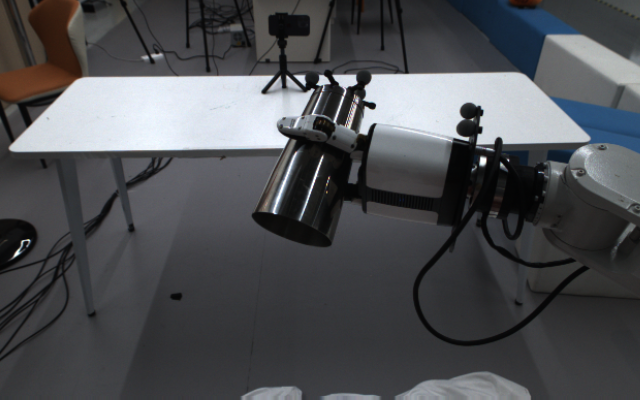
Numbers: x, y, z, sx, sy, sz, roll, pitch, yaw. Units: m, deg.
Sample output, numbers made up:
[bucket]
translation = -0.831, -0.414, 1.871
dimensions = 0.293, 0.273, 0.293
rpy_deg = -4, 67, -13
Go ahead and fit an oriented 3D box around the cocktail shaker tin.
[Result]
[cocktail shaker tin]
translation = -0.003, -0.043, 0.550
dimensions = 0.093, 0.093, 0.170
rpy_deg = 13, 70, 15
